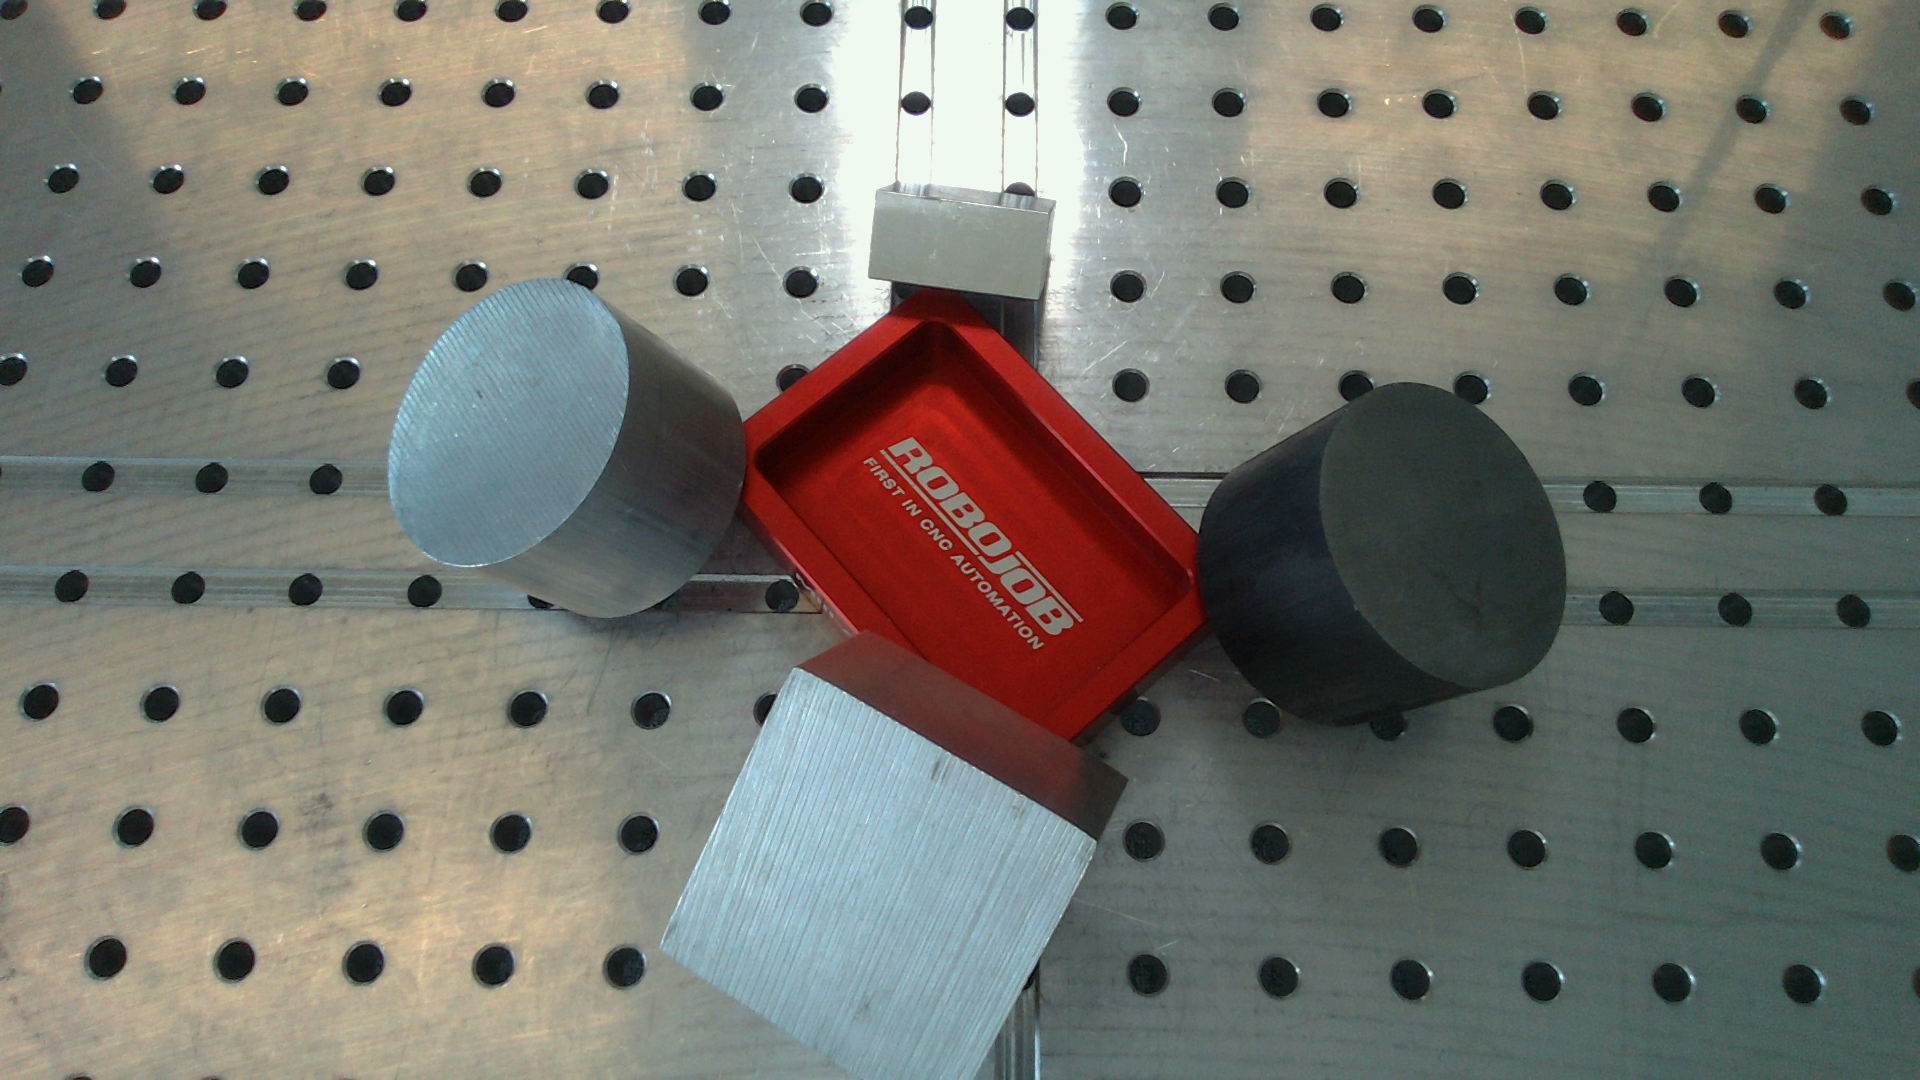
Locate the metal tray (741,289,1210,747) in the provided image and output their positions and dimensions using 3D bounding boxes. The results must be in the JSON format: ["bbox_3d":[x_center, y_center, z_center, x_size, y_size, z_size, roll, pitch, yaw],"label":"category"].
[{"bbox_3d":[0.003,-0.002,0.394,0.090,0.030,0.130,-40,75,-13],"label":"metal tray"}]

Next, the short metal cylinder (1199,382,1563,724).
[{"bbox_3d":[0.111,0.005,0.366,0.080,0.050,0.080,10,68,-25],"label":"short metal cylinder"}]

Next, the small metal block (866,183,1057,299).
[{"bbox_3d":[0.002,-0.092,0.414,0.050,0.050,0.025,8,108,3],"label":"small metal block"}]

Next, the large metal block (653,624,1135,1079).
[{"bbox_3d":[-0.015,0.079,0.336,0.080,0.050,0.080,29,103,10],"label":"large metal block"}]

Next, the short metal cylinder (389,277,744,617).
[{"bbox_3d":[-0.107,-0.024,0.376,0.080,0.050,0.080,-9,68,24],"label":"short metal cylinder"}]
